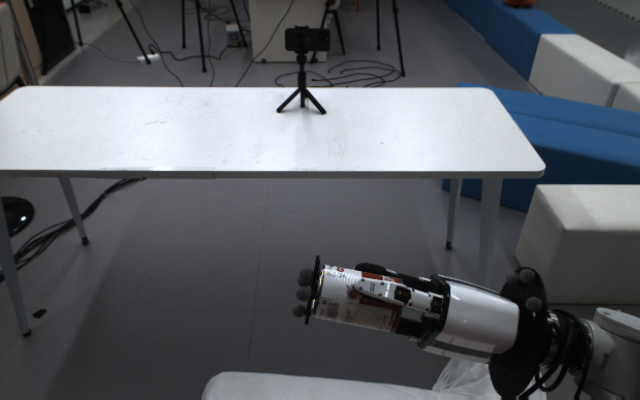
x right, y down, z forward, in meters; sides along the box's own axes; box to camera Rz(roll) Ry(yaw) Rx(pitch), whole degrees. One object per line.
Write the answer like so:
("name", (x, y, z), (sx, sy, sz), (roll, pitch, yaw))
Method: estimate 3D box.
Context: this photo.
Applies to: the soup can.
("soup can", (0.049, 0.120, 0.596), (0.101, 0.067, 0.067), (11, 35, -2))
